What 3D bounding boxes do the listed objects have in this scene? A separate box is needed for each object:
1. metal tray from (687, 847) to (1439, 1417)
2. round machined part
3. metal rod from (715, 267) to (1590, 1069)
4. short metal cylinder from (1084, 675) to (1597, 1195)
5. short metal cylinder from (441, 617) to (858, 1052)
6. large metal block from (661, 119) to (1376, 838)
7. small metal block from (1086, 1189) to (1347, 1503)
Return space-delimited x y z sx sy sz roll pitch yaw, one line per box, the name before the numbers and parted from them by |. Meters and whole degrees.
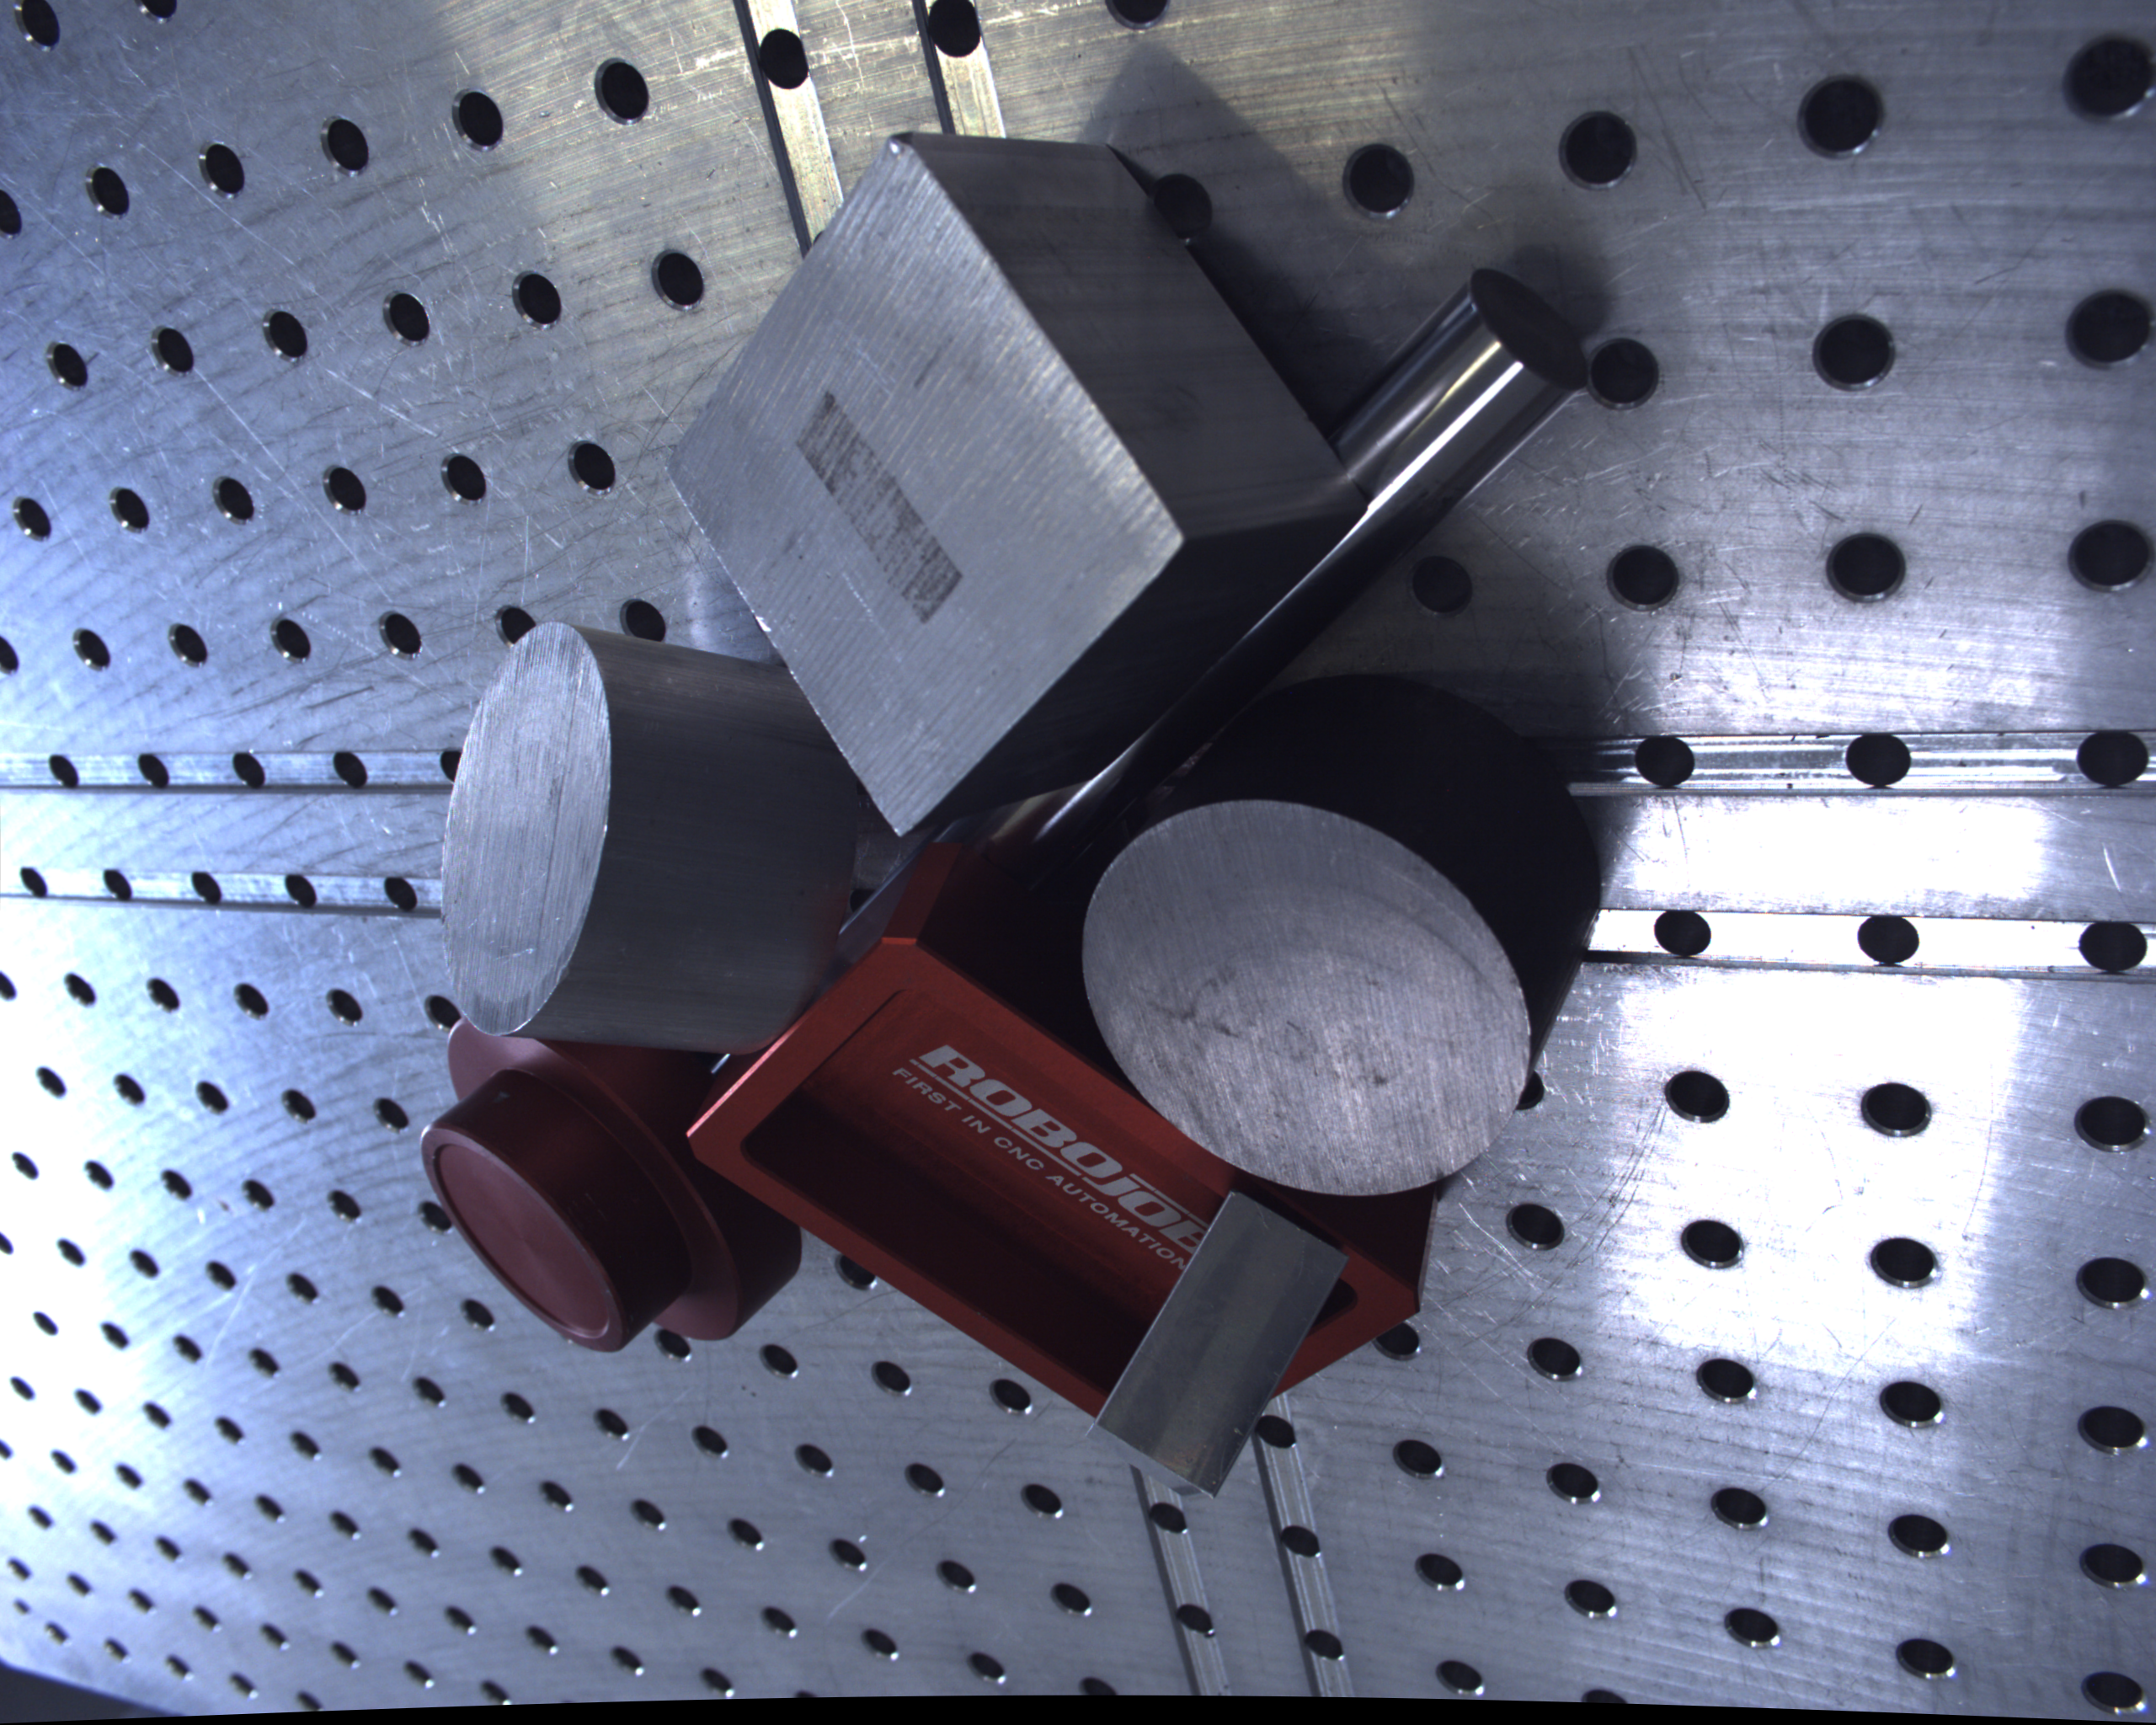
metal tray | -0.003 0.064 0.431 0.130 0.030 0.090 36 130 -13
round machined part | -0.116 0.076 0.491 0.098 0.042 0.097 28 140 26
metal rod | -0.014 -0.004 0.418 0.025 0.025 0.299 44 130 -3
short metal cylinder | 0.048 0.013 0.377 0.080 0.050 0.079 13 124 21
short metal cylinder | -0.086 -0.004 0.411 0.080 0.050 0.080 -16 70 51
large metal block | -0.012 -0.063 0.348 0.080 0.050 0.080 -43 74 39
small metal block | 0.025 0.095 0.402 0.025 0.050 0.050 29 163 7
